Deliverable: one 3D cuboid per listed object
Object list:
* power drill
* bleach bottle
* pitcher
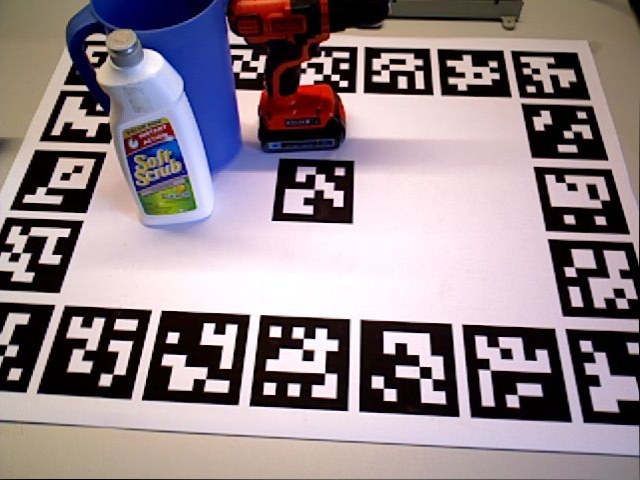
[{"bbox_3d":[-0.001,-0.203,0.631,0.183,0.191,0.057,0,62,-6],"label":"power drill"},{"bbox_3d":[-0.183,-0.120,0.554,0.102,0.255,0.067,-5,59,-2],"label":"bleach bottle"},{"bbox_3d":[-0.169,-0.197,0.620,0.187,0.247,0.132,-22,63,-12],"label":"pitcher"}]
